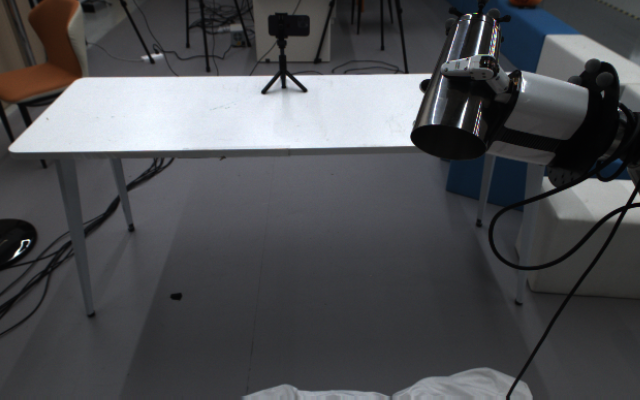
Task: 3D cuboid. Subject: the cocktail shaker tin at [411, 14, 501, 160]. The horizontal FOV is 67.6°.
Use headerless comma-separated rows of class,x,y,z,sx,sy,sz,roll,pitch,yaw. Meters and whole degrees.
cocktail shaker tin,0.183,-0.146,0.616,0.093,0.093,0.170,13,74,15
